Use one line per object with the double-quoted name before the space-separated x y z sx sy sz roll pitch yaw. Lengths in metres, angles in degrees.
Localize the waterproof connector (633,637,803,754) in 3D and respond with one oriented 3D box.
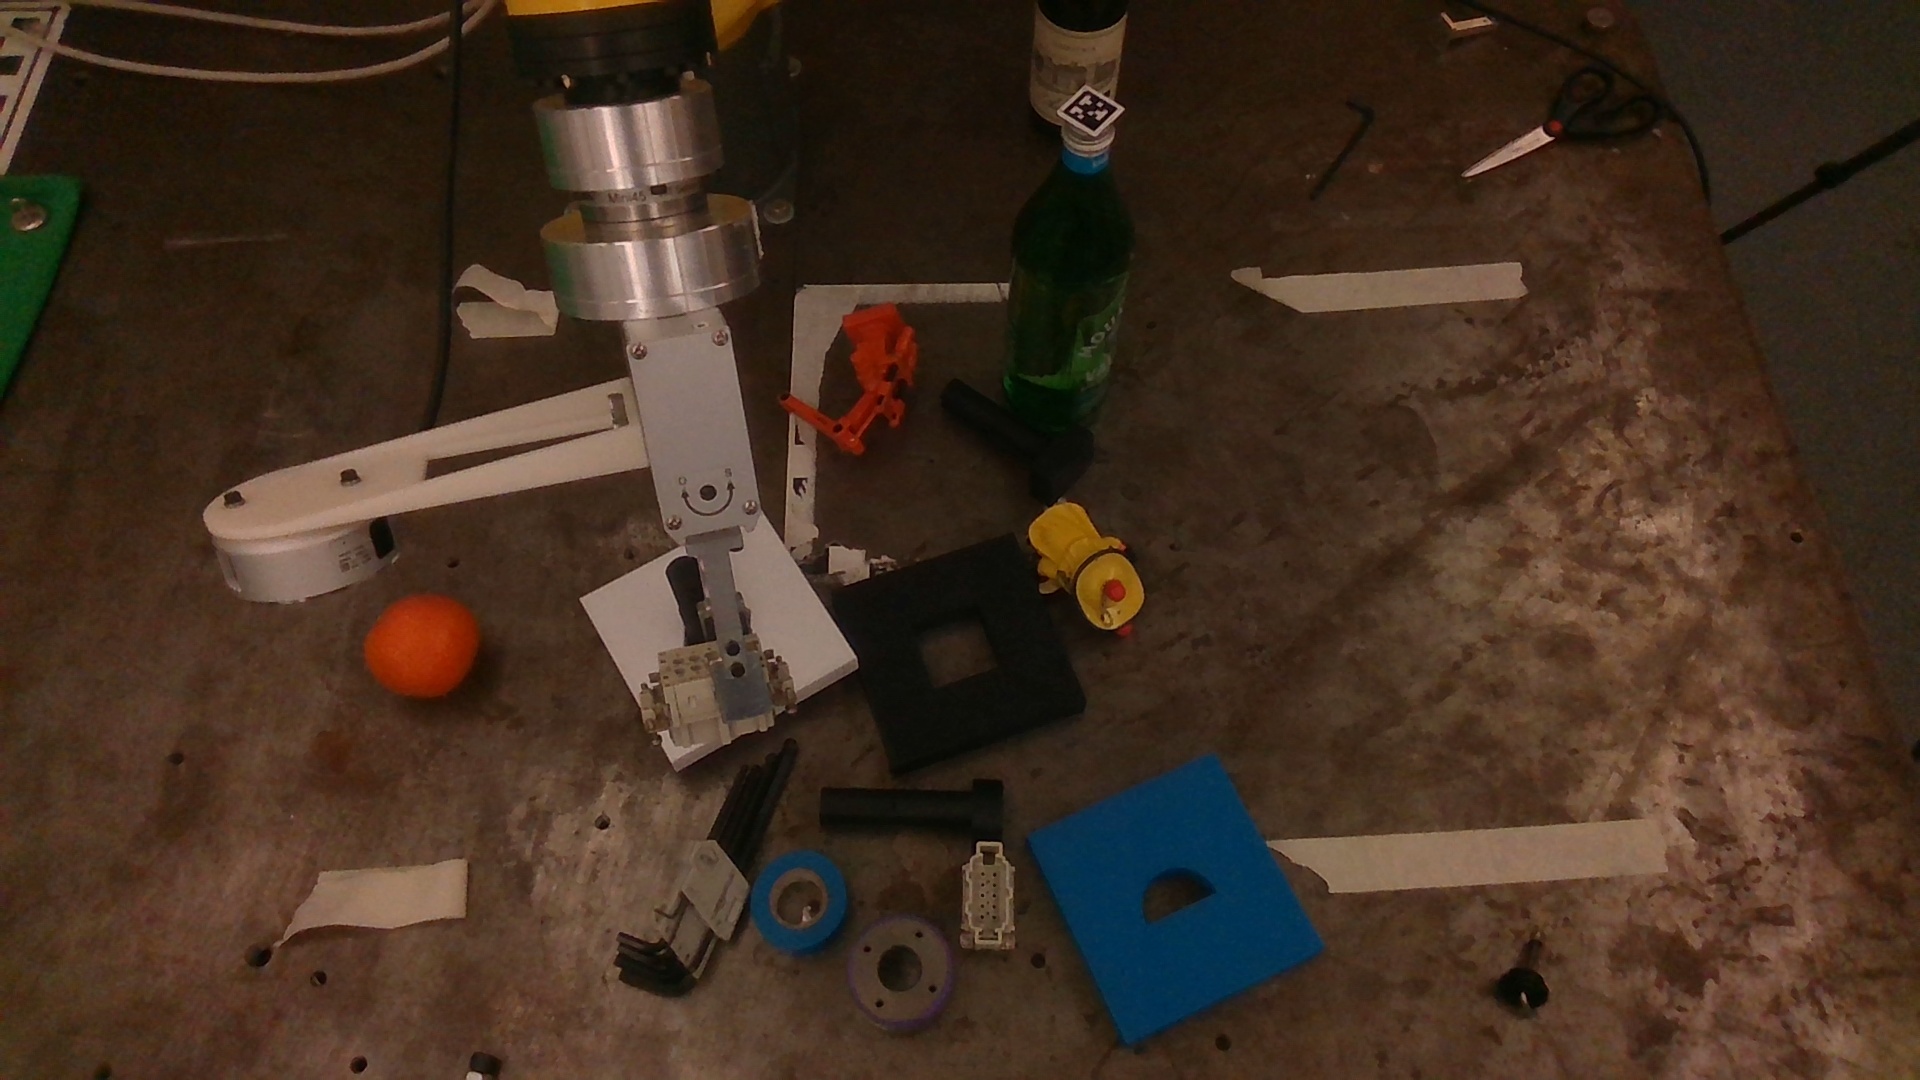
"waterproof connector" -0.102 0.067 0.582 0.069 0.038 0.037 -6 21 -18
